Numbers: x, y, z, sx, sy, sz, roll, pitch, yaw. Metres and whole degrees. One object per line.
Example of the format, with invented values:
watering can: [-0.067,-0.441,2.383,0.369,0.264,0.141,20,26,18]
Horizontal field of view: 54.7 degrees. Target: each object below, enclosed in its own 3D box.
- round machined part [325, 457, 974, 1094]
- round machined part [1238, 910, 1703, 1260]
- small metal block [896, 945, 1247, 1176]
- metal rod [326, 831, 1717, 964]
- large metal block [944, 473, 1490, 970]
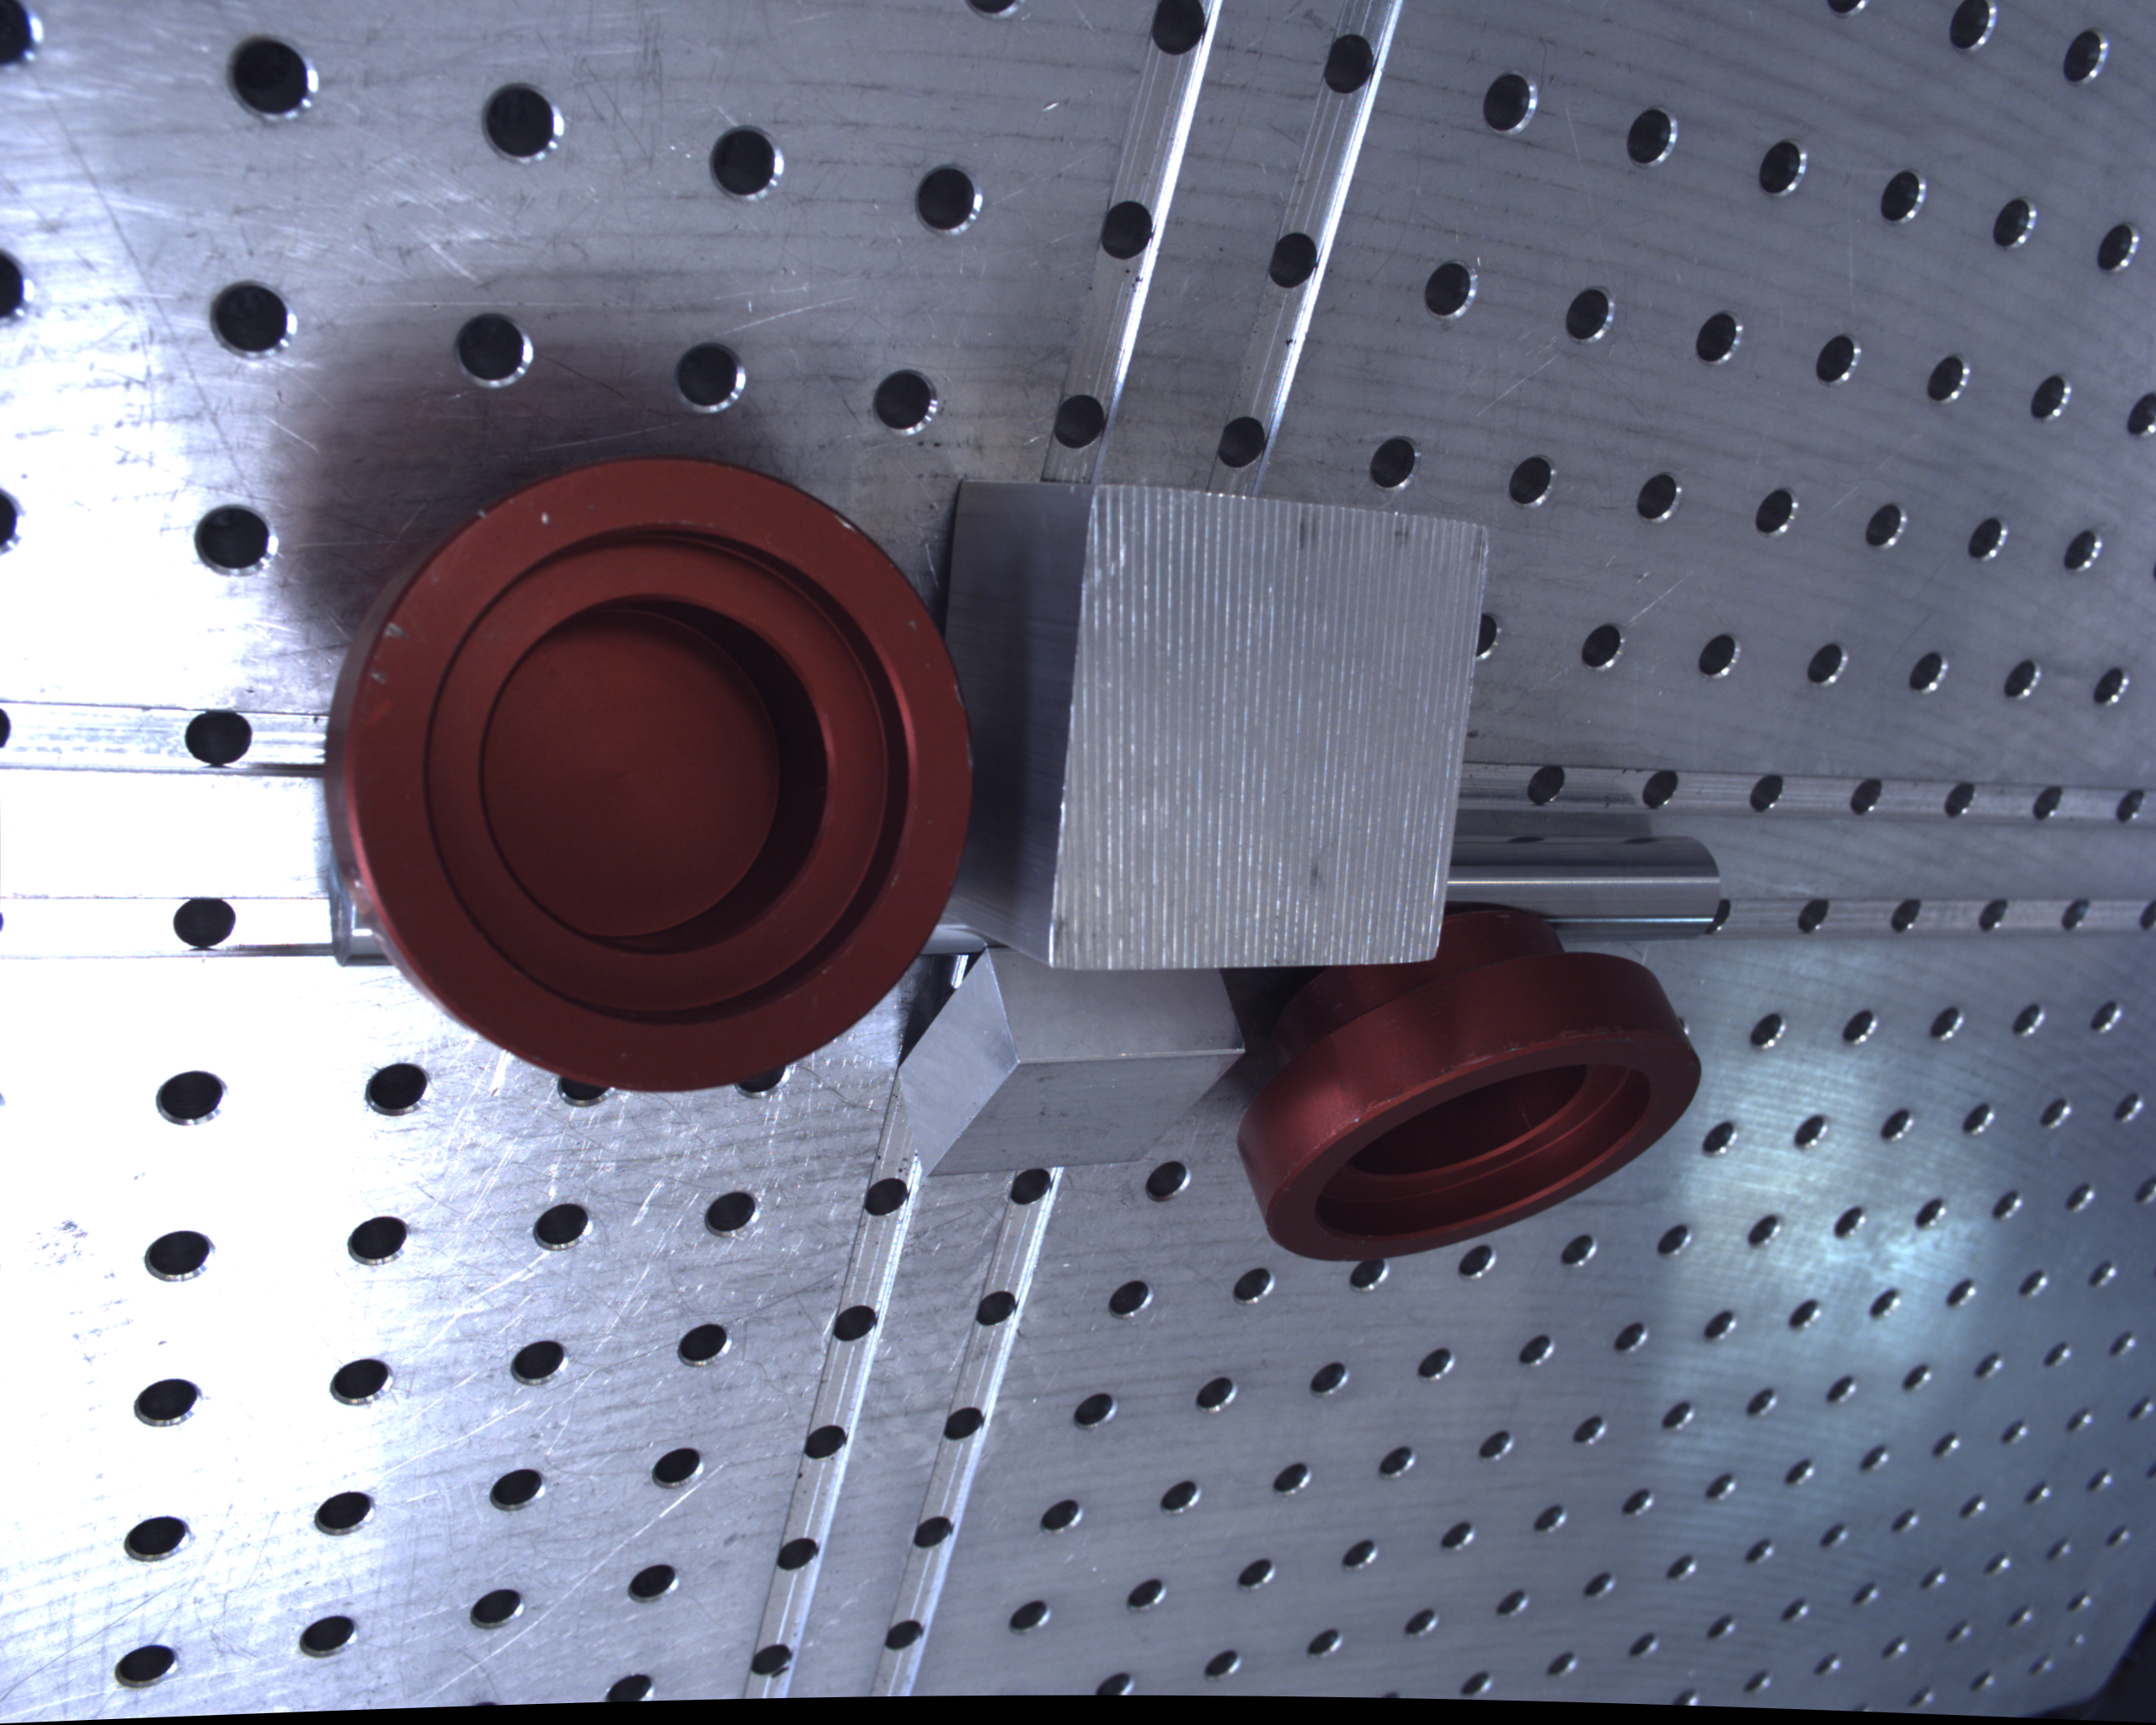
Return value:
round machined part: [-0.070,-0.014,0.337,0.099,0.042,0.097,-2,93,-29]
round machined part: [0.082,0.046,0.458,0.099,0.042,0.098,-14,148,-9]
small metal block: [-0.002,0.040,0.422,0.050,0.025,0.050,1,147,-29]
metal rod: [0.009,0.005,0.420,0.303,0.025,0.025,0,118,-29]
large metal block: [0.022,-0.026,0.376,0.081,0.050,0.079,1,100,-29]
